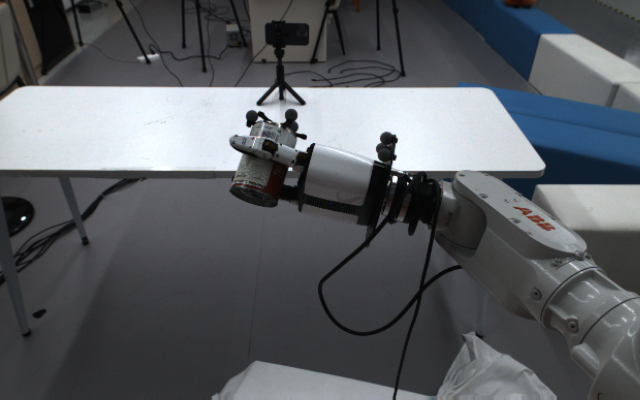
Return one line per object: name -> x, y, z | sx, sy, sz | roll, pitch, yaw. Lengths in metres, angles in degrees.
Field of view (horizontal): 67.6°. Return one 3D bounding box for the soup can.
soup can -> -0.076, -0.049, 0.667 | 0.067, 0.067, 0.101 | 11, 72, 13
